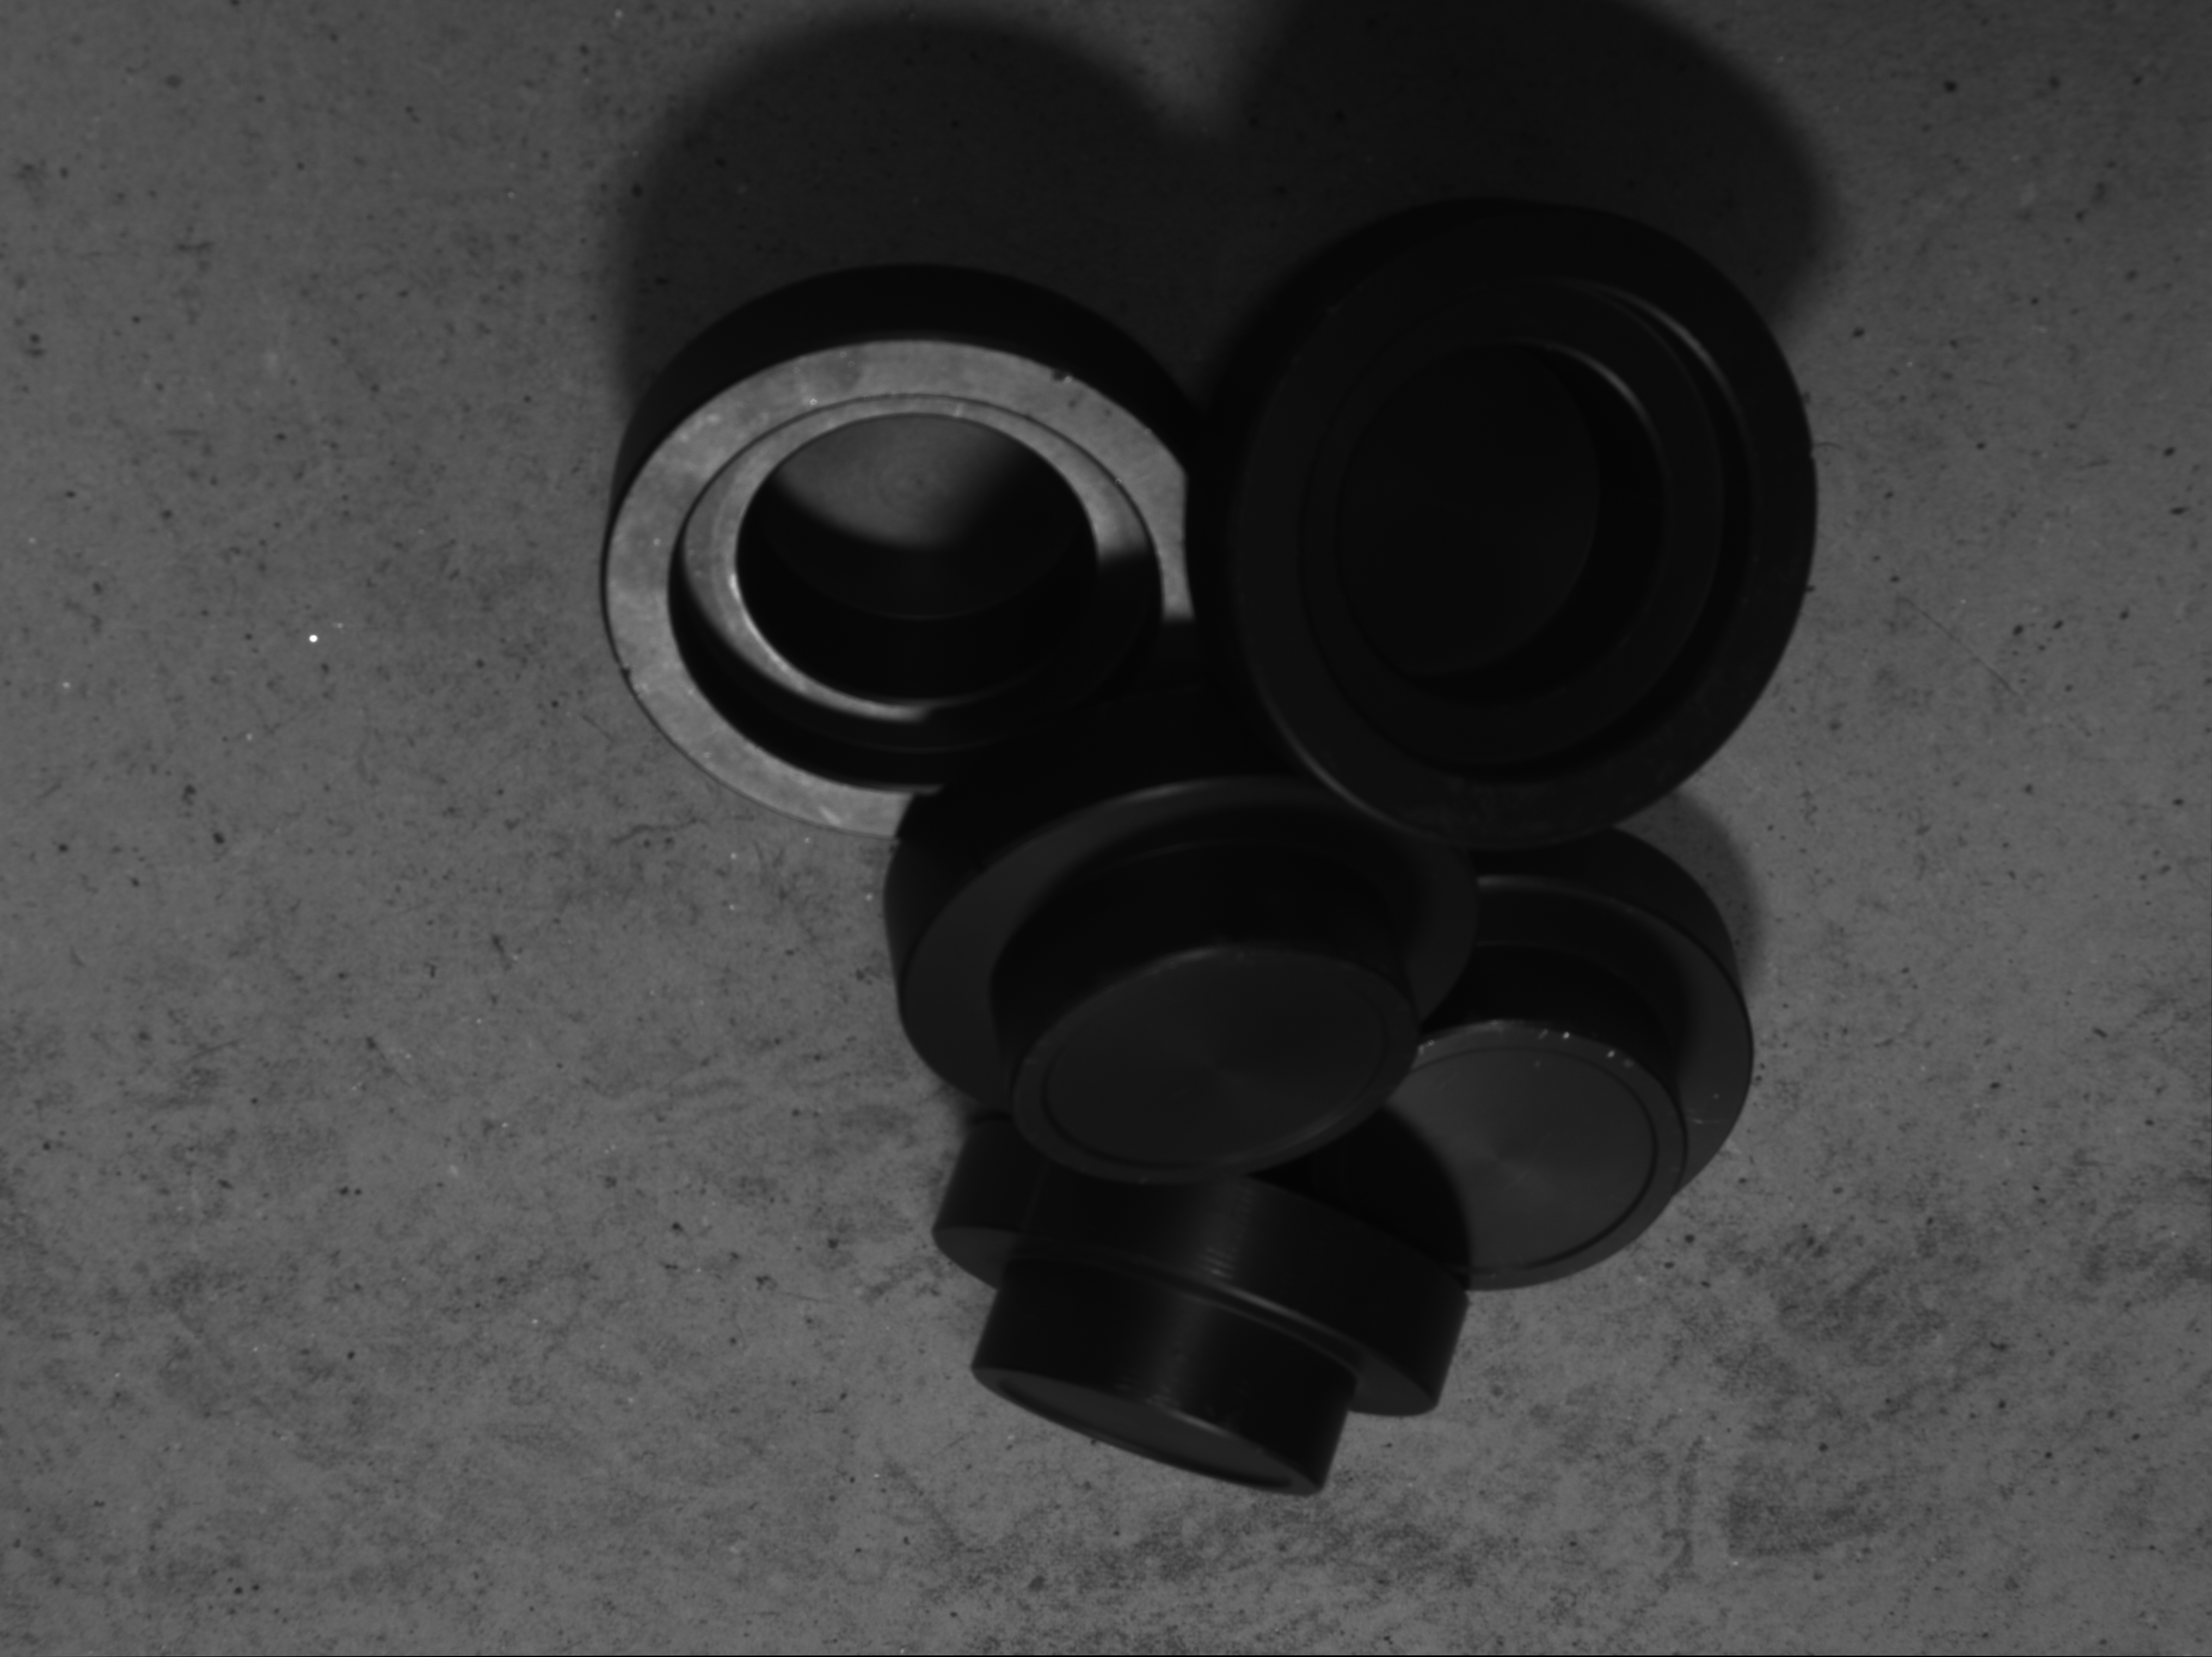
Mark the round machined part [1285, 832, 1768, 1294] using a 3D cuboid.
[{"bbox_3d":[0.072,0.047,0.669,0.098,0.042,0.098,-1,130,-1],"label":"round machined part"}]

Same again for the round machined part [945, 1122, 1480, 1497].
[{"bbox_3d":[0.016,0.092,0.672,0.098,0.042,0.098,18,164,6],"label":"round machined part"}]

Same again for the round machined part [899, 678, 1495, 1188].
[{"bbox_3d":[0.017,0.023,0.604,0.098,0.042,0.098,-7,141,-6],"label":"round machined part"}]

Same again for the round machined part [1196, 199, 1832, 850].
[{"bbox_3d":[0.060,-0.049,0.570,0.098,0.042,0.098,-5,105,-18],"label":"round machined part"}]

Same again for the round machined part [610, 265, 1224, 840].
[{"bbox_3d":[-0.029,-0.048,0.586,0.098,0.042,0.098,-1,130,-1],"label":"round machined part"}]
